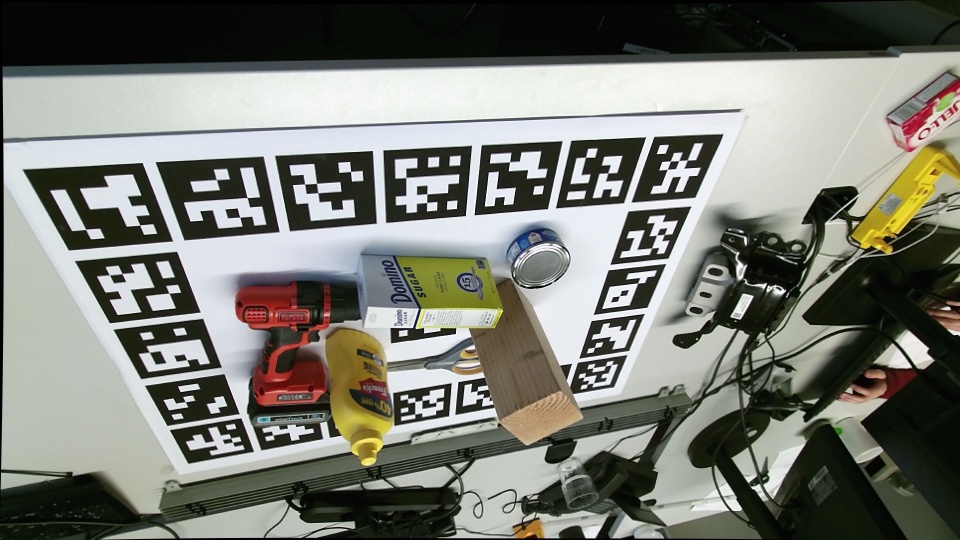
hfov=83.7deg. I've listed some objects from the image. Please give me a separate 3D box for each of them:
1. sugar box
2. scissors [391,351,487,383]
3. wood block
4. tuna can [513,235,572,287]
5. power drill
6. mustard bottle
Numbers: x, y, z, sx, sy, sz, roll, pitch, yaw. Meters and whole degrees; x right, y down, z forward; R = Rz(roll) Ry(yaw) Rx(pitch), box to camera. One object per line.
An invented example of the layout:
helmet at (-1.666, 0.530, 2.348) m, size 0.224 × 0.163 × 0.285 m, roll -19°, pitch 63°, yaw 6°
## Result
sugar box at (-0.064, 0.034, 0.696) m, size 0.177 × 0.092 × 0.045 m, roll 4°, pitch 130°, yaw -21°
scissors at (-0.046, 0.161, 0.859) m, size 0.203 × 0.016 × 0.088 m, roll -5°, pitch 134°, yaw -16°
wood block at (0.062, 0.127, 0.755) m, size 0.091 × 0.205 × 0.090 m, roll -29°, pitch 131°, yaw 4°
tuna can at (0.090, -0.006, 0.751) m, size 0.086 × 0.033 × 0.086 m, roll -10°, pitch 130°, yaw -11°
power drill at (-0.212, 0.107, 0.727) m, size 0.185 × 0.057 × 0.187 m, roll 4°, pitch 120°, yaw -23°
mustard bottle at (-0.154, 0.178, 0.728) m, size 0.058 × 0.190 × 0.096 m, roll -38°, pitch 130°, yaw 12°
